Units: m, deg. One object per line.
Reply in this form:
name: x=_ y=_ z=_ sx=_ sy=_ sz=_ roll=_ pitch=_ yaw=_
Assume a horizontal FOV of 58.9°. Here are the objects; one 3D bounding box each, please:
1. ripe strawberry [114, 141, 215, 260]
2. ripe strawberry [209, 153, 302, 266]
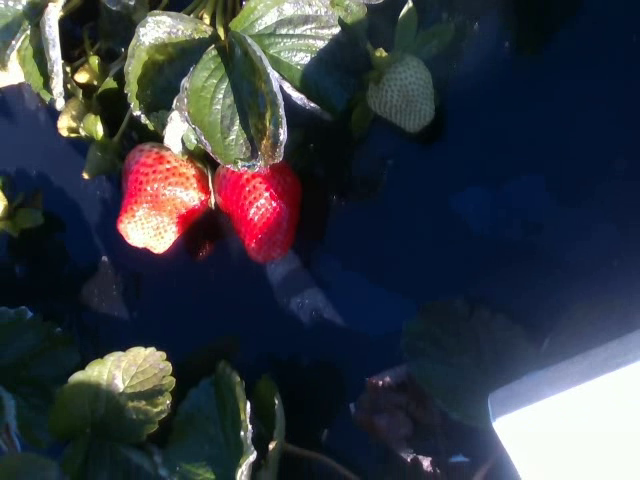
ripe strawberry: x=-0.085 y=-0.019 z=0.308 sx=0.052 sy=0.070 sz=0.040 roll=17 pitch=11 yaw=0
ripe strawberry: x=-0.035 y=-0.018 z=0.287 sx=0.043 sy=0.059 sz=0.040 roll=-28 pitch=2 yaw=18
